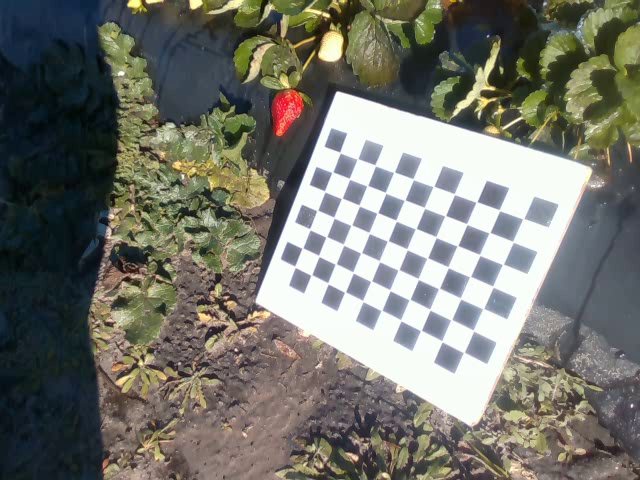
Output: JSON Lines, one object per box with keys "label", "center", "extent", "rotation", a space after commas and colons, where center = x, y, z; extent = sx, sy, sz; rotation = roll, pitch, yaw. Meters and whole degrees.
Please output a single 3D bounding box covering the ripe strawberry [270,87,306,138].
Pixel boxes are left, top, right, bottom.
{"label": "ripe strawberry", "center": [-0.042, -0.154, 0.702], "extent": [0.048, 0.068, 0.040], "rotation": [4, -10, 30]}
